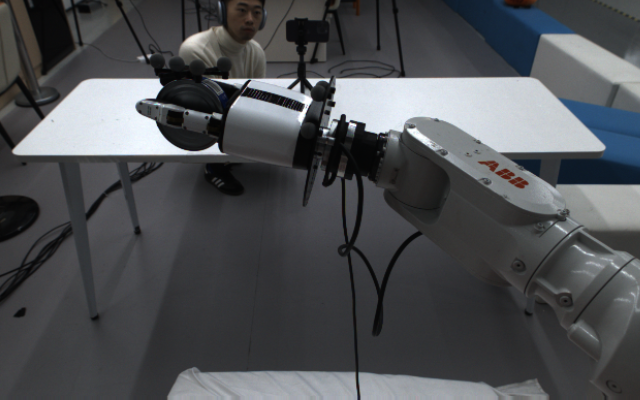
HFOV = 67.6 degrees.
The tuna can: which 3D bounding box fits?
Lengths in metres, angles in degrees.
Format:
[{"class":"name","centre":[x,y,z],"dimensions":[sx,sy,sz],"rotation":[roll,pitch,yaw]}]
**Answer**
[{"class":"tuna can","centre":[-0.150,-0.103,0.581],"dimensions":[0.085,0.085,0.034],"rotation":[5,22,5]}]
